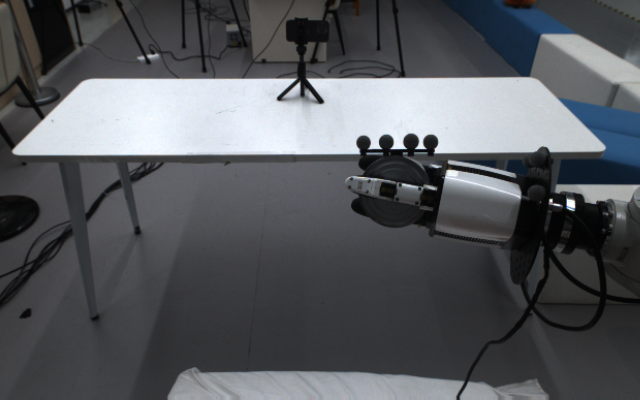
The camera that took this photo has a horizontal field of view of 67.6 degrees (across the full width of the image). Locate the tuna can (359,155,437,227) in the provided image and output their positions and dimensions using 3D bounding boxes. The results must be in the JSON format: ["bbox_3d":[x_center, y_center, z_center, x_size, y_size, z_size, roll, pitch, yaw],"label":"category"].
[{"bbox_3d":[0.093,-0.012,0.586,0.085,0.085,0.034,12,8,14],"label":"tuna can"}]
